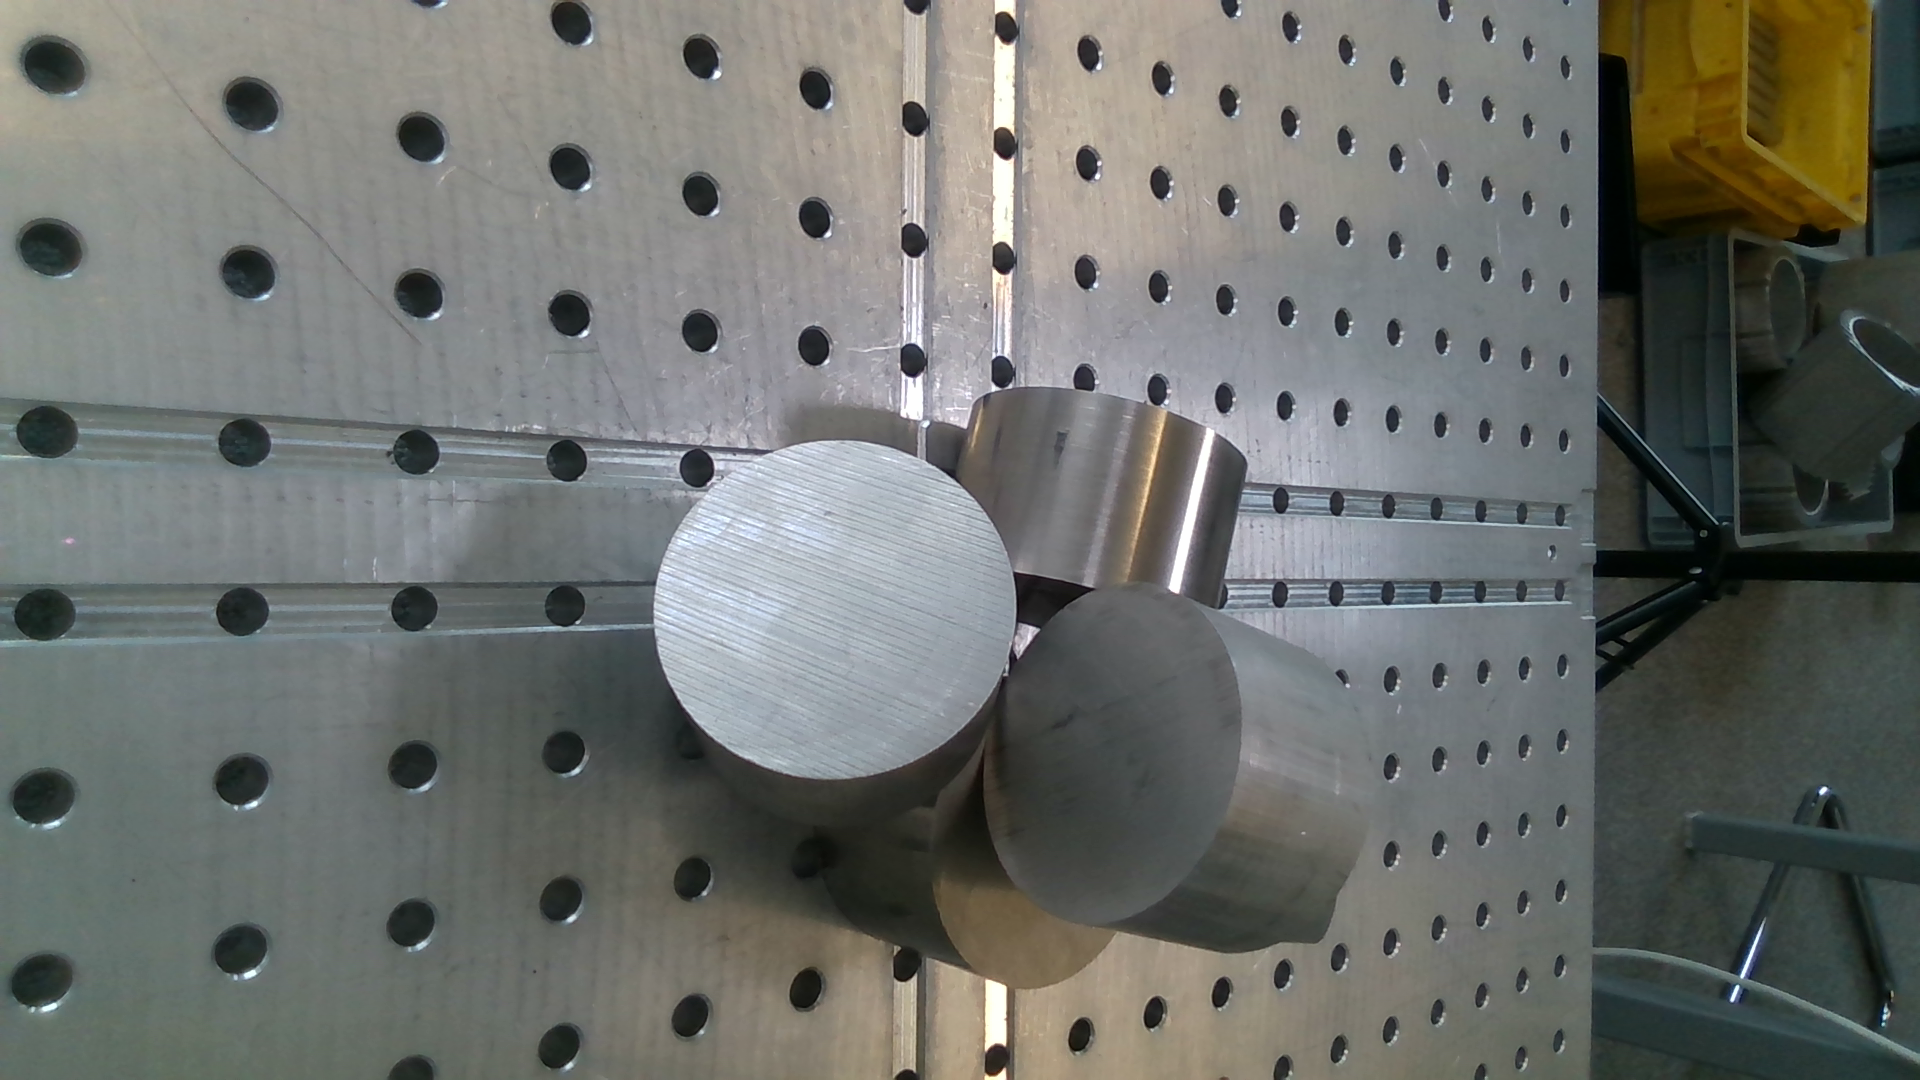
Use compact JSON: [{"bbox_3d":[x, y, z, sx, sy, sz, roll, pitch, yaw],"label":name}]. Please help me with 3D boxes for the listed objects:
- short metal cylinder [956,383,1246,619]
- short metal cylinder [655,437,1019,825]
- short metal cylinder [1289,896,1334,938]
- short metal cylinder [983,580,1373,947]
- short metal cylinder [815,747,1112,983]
[{"bbox_3d":[0.036,-0.005,0.388,0.080,0.080,0.050,24,75,-38],"label":"short metal cylinder"},{"bbox_3d":[-0.028,0.023,0.327,0.080,0.050,0.080,1,67,-3],"label":"short metal cylinder"},{"bbox_3d":[0.079,0.078,0.416,0.050,0.080,0.080,1,89,0],"label":"short metal cylinder"},{"bbox_3d":[0.051,0.055,0.335,0.050,0.080,0.080,22,76,-38],"label":"short metal cylinder"},{"bbox_3d":[0.007,0.077,0.383,0.080,0.050,0.080,1,89,-41],"label":"short metal cylinder"}]
